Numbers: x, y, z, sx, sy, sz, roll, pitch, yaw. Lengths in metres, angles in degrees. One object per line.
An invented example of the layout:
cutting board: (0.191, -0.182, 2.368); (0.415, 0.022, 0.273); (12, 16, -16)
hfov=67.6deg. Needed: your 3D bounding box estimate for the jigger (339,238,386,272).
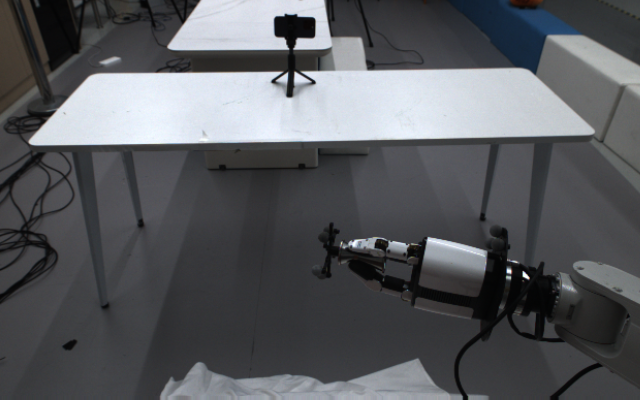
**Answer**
jigger: (0.071, 0.078, 0.720); (0.071, 0.043, 0.043); (7, 35, 12)
